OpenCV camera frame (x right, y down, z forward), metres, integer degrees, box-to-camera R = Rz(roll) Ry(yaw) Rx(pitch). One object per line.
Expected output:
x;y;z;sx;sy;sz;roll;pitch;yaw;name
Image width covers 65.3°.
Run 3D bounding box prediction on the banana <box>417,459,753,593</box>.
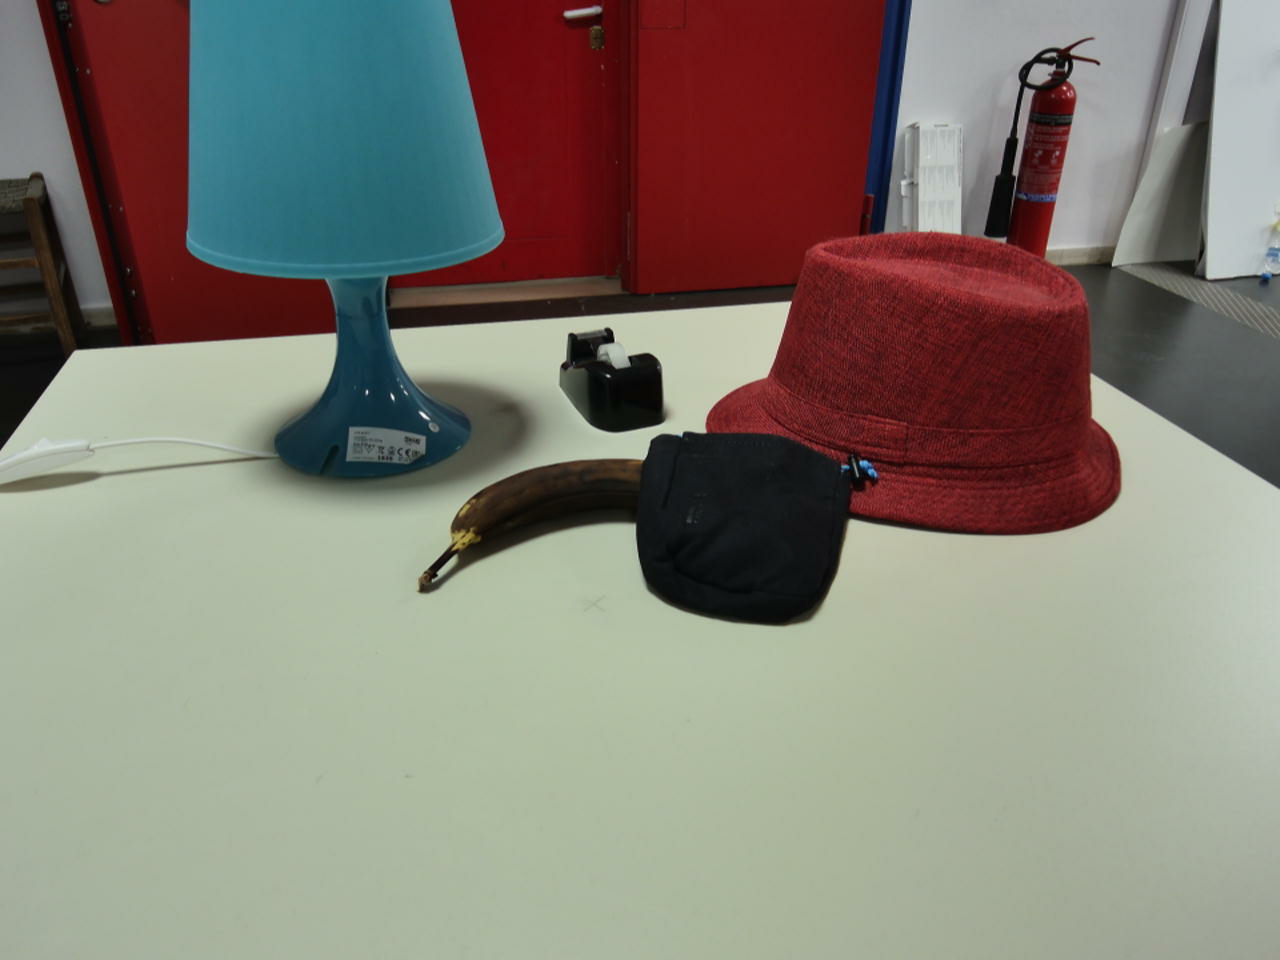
-0.033;0.016;0.580;0.188;0.034;0.091;-5;27;-10;banana
